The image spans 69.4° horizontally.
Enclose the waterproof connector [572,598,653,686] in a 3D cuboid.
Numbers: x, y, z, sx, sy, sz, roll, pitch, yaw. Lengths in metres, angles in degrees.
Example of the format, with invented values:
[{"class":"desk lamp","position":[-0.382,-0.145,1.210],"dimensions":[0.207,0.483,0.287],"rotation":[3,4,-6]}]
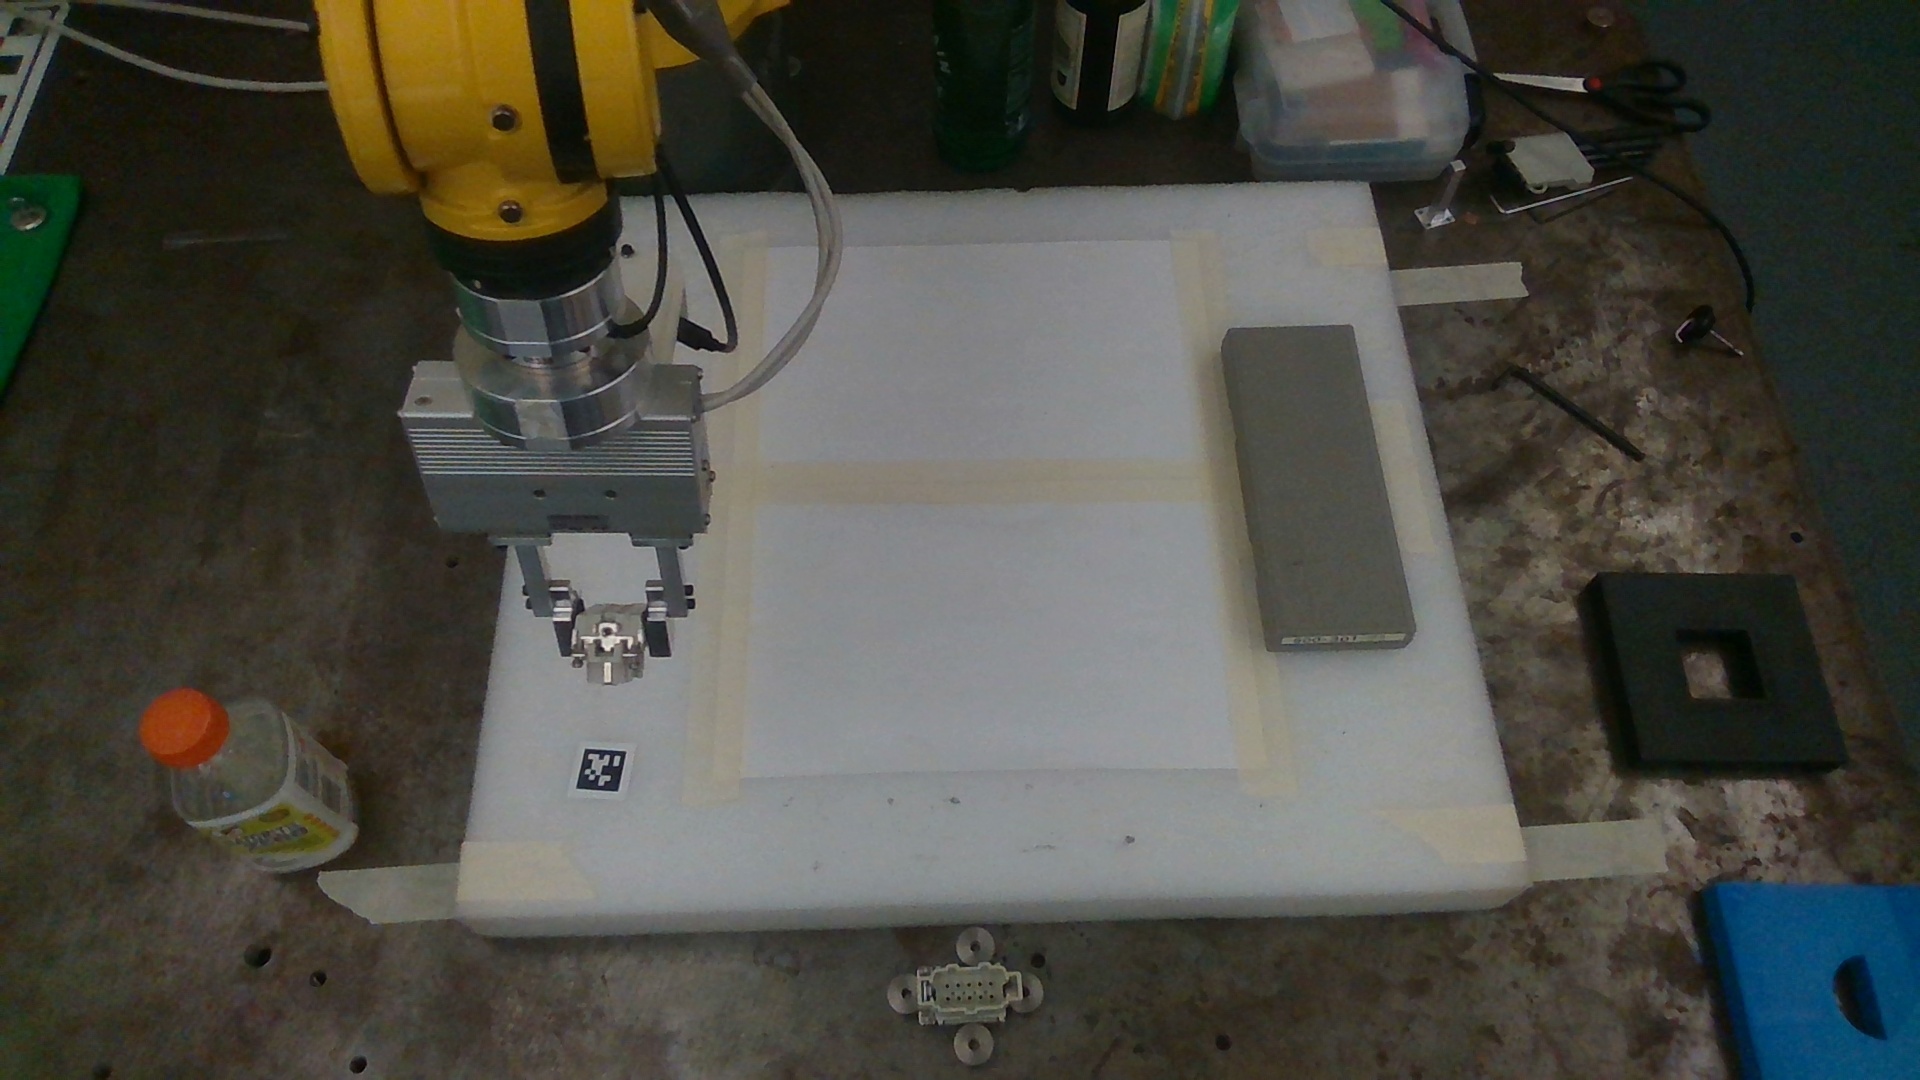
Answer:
[{"class":"waterproof connector","position":[-0.186,0.054,0.747],"dimensions":[0.036,0.069,0.038],"rotation":[0,98,-8]}]
